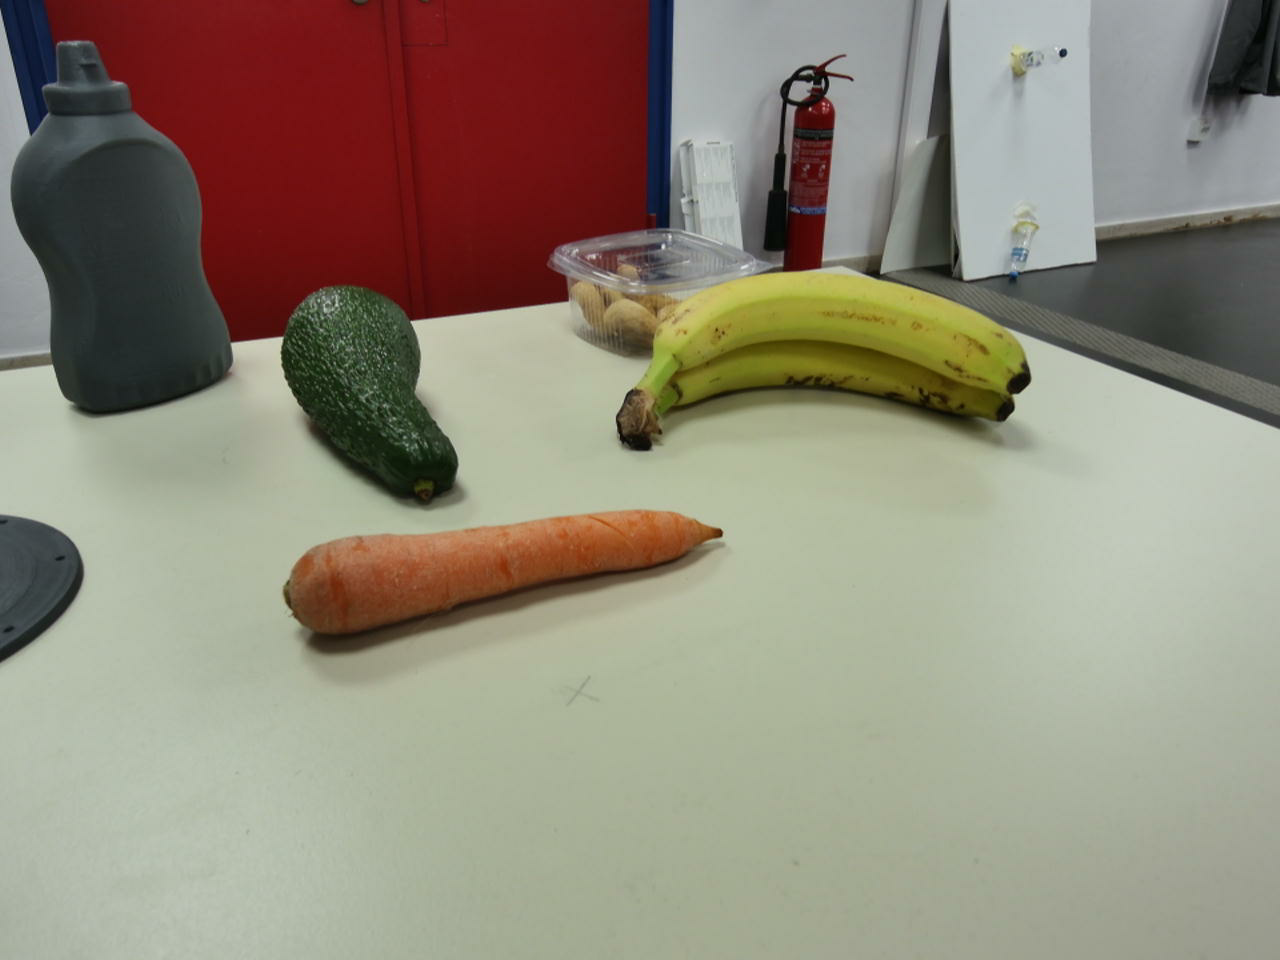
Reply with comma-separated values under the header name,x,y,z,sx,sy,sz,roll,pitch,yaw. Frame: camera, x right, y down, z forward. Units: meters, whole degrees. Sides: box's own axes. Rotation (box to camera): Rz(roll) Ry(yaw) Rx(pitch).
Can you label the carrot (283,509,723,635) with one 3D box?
name,x,y,z,sx,sy,sz,roll,pitch,yaw
carrot,-0.050,0.029,0.432,0.196,0.041,0.039,-12,27,-23
